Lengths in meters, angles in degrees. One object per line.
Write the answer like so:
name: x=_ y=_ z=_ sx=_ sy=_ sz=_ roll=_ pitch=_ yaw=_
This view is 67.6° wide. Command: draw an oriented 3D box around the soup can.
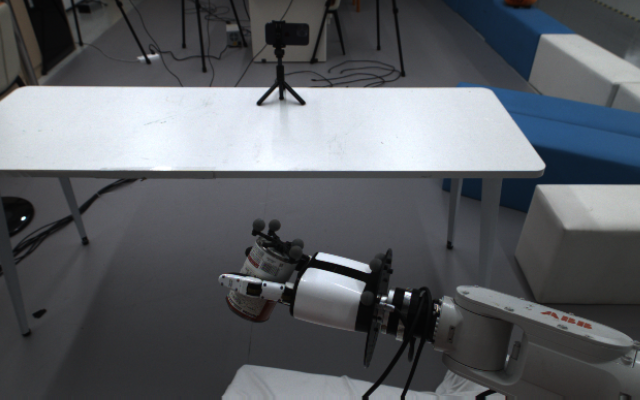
soup can: x=-0.078 y=0.111 z=0.674 sx=0.067 sy=0.101 sz=0.067 roll=27 pitch=10 yaw=-5
